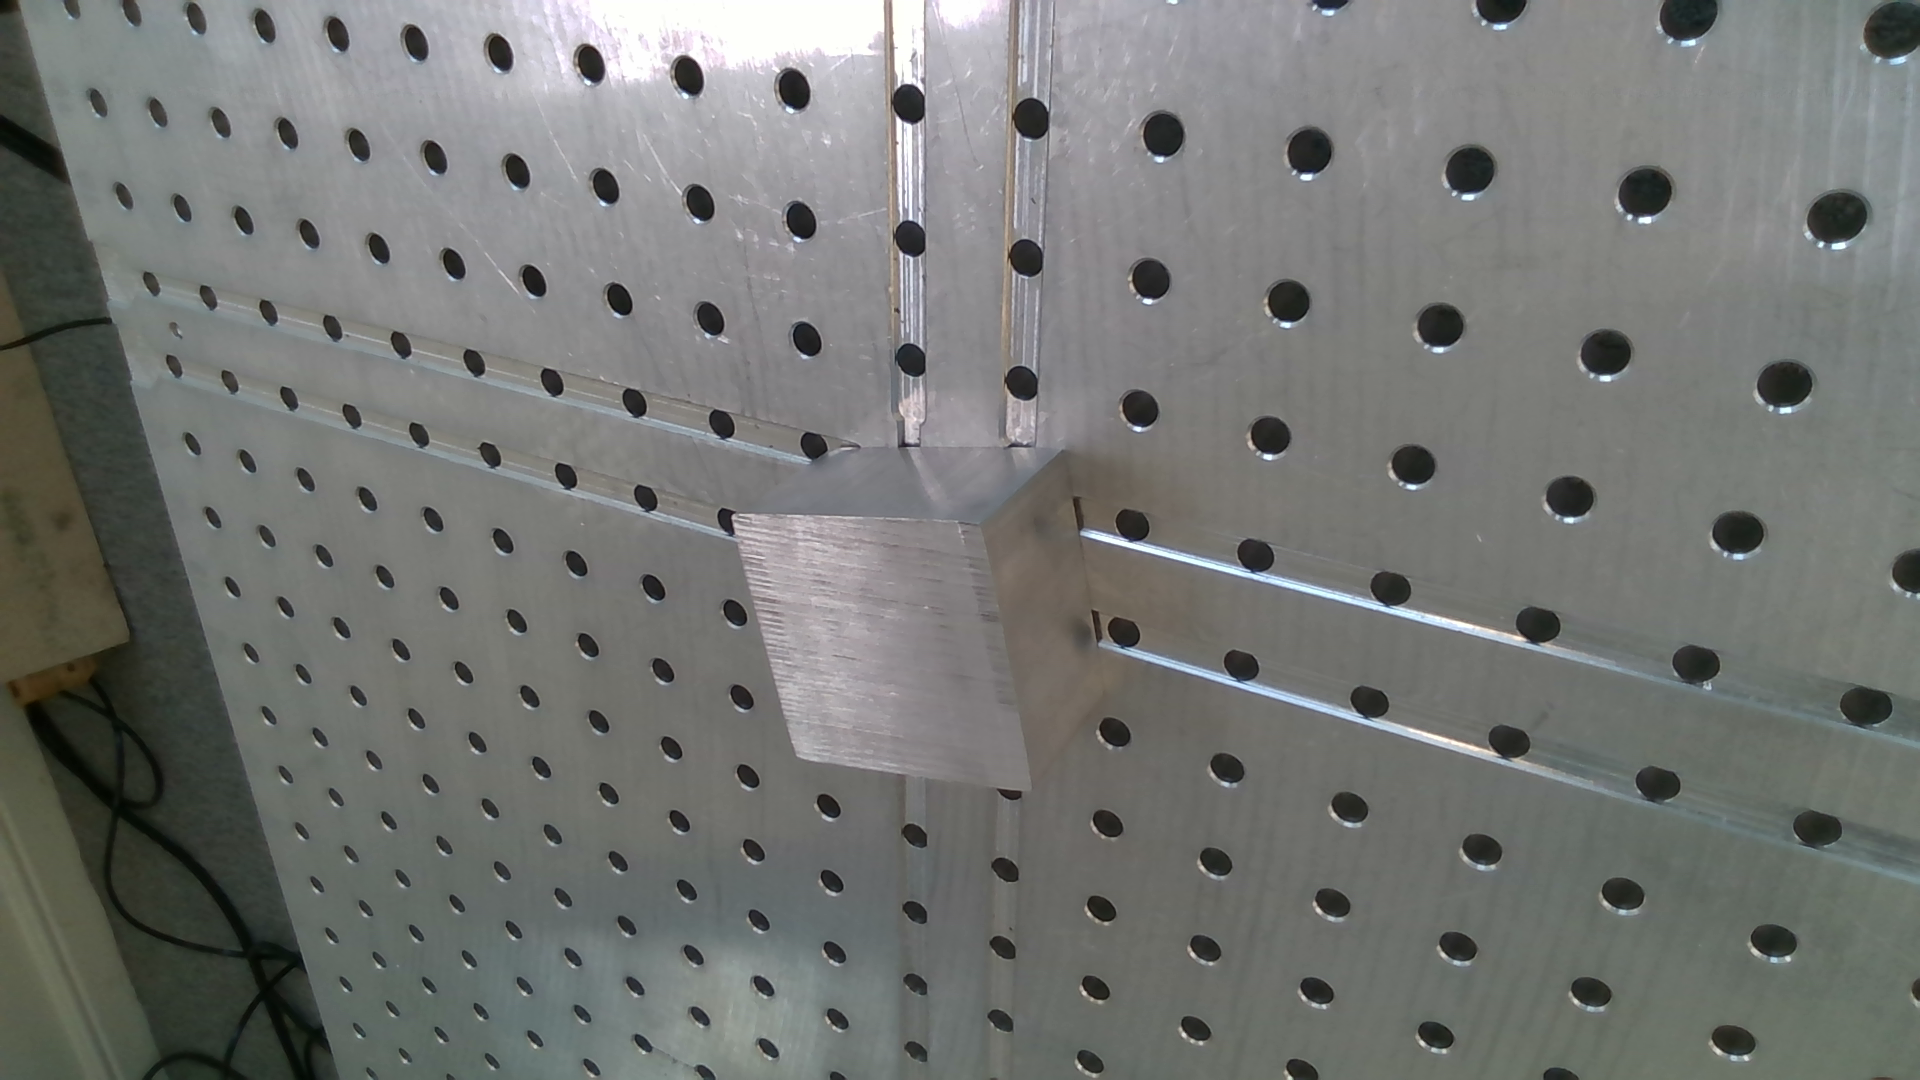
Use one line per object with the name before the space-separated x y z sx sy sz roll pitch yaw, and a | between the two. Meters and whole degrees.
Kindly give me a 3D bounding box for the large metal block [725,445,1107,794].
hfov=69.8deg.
large metal block | -0.011 0.020 0.391 0.080 0.050 0.080 2 116 31
